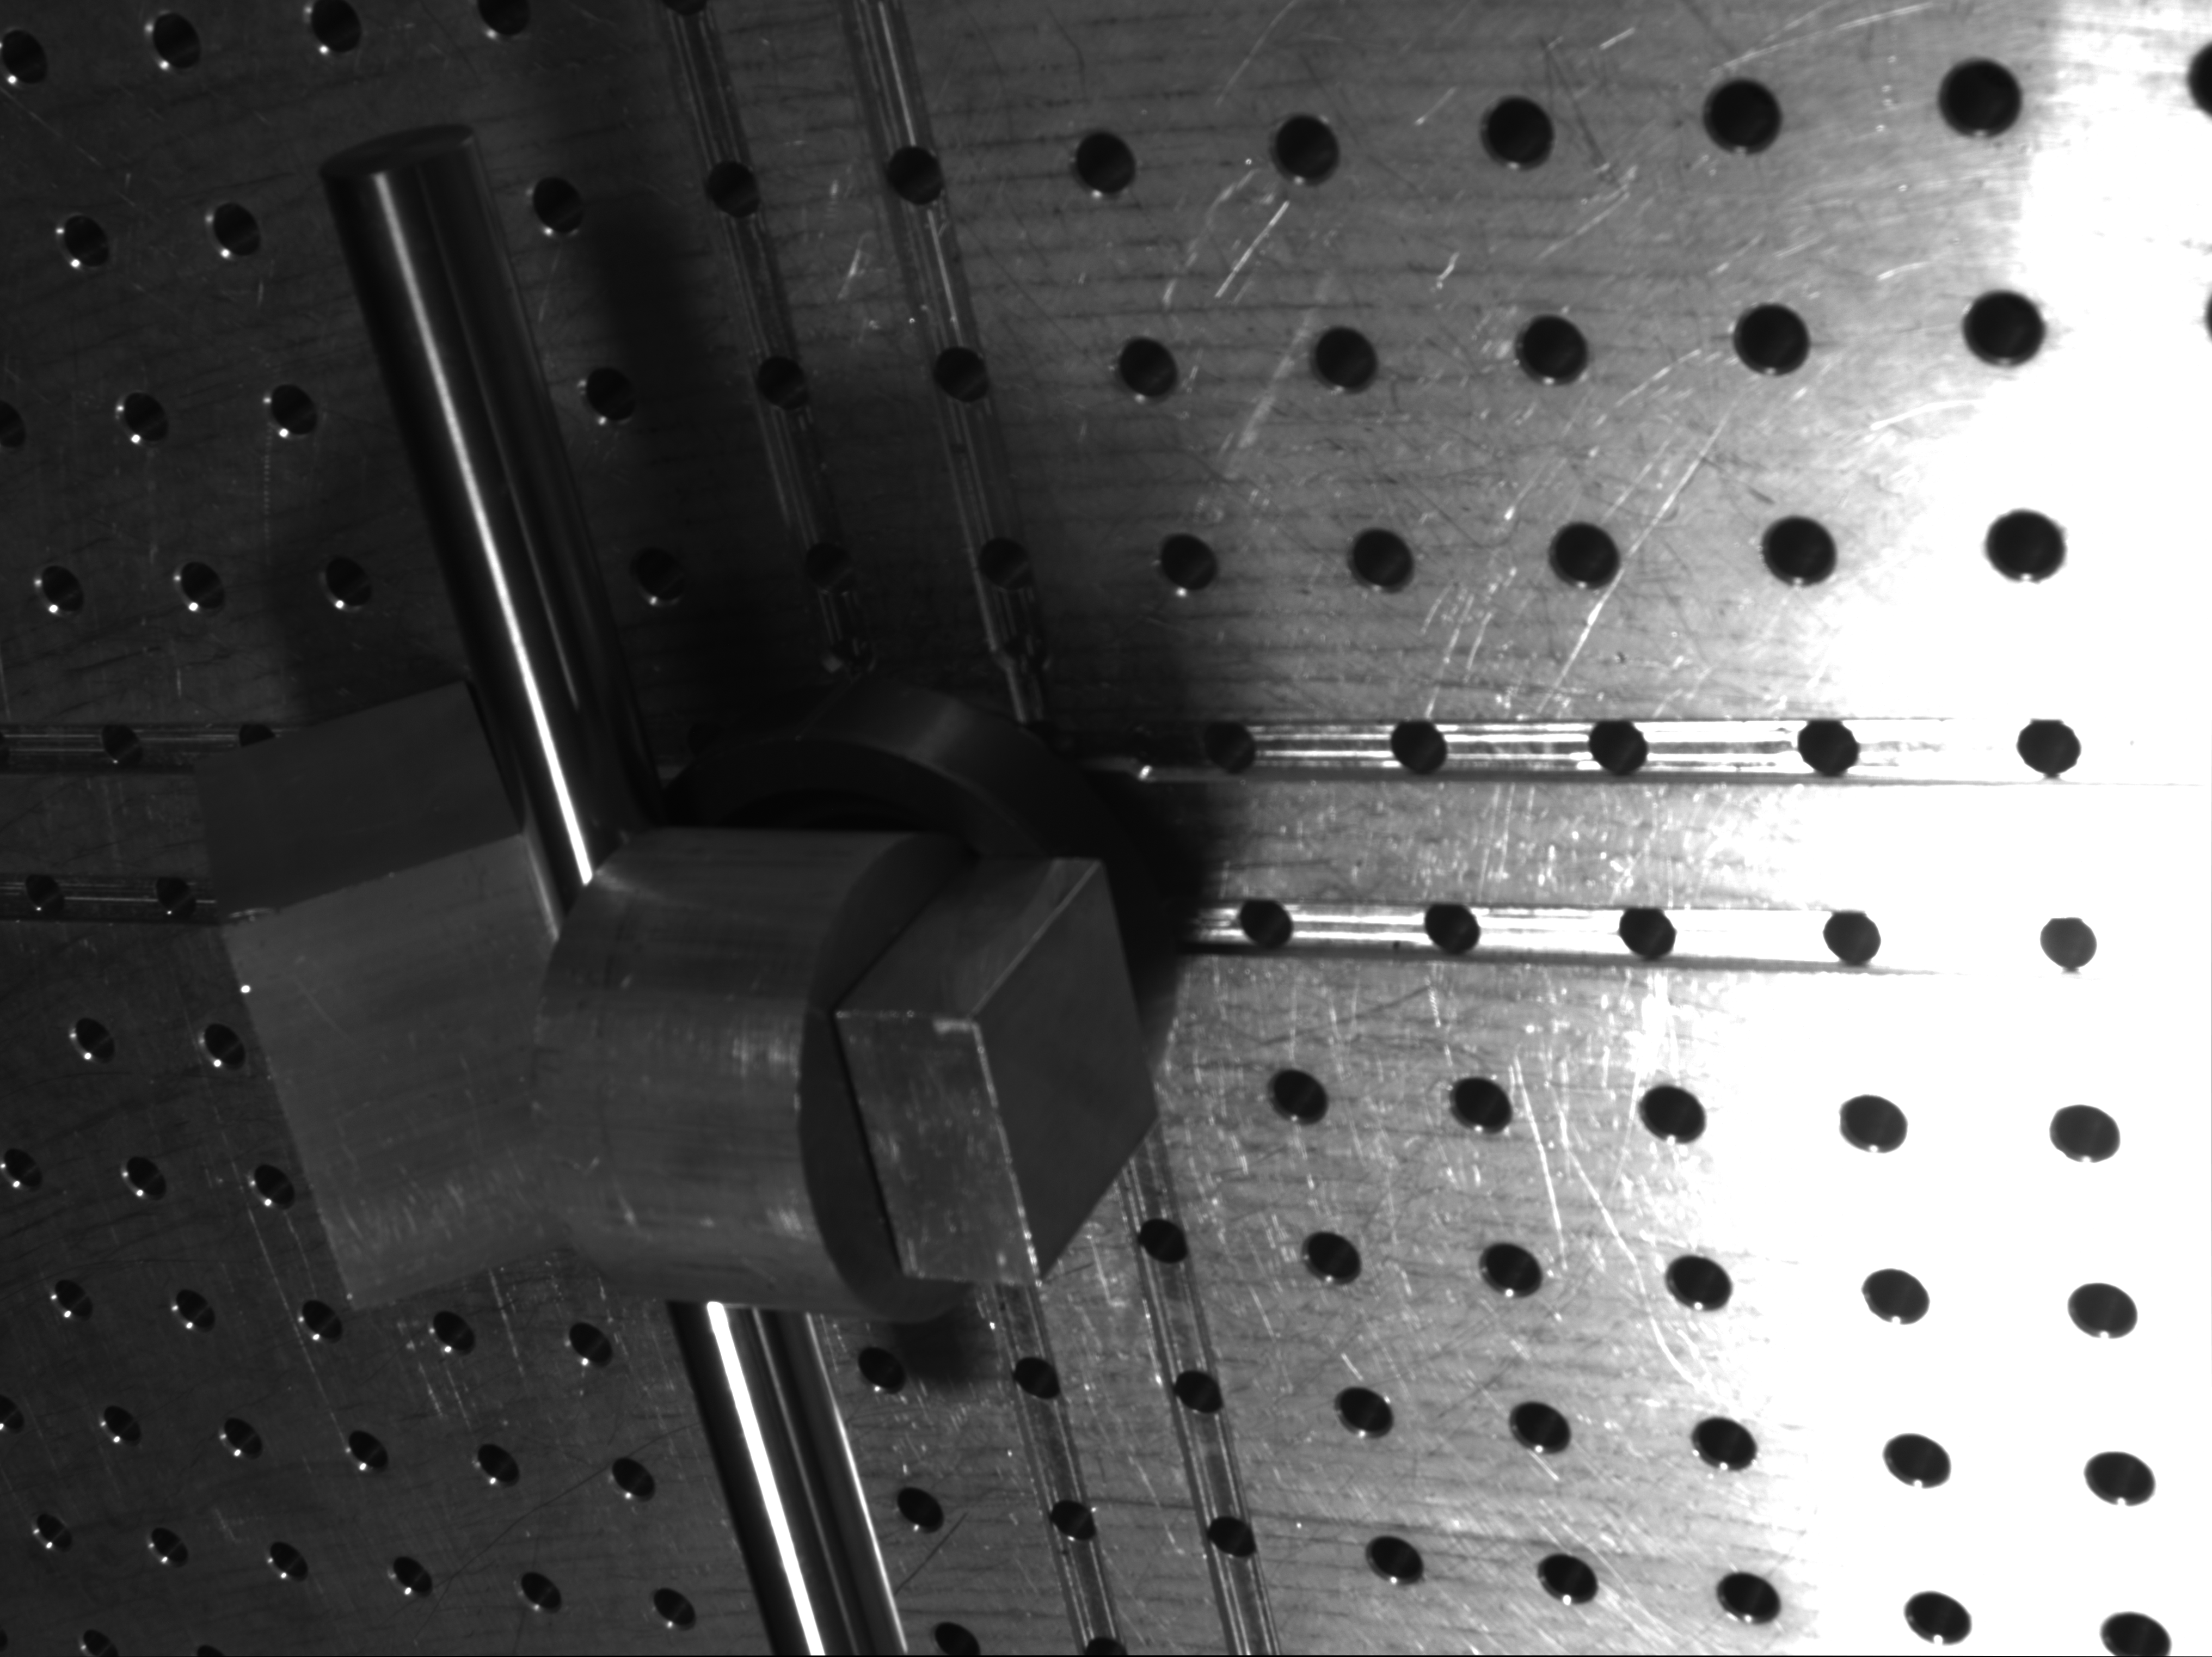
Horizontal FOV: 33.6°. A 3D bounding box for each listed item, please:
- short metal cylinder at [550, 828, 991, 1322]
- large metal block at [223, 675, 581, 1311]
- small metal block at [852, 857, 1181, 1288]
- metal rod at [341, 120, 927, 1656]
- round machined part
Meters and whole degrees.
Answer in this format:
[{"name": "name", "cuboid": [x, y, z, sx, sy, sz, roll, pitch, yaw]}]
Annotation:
[{"name": "short metal cylinder", "cuboid": [-0.049, 0.040, 0.609, 0.050, 0.080, 0.080, 1, 119, 26]}, {"name": "large metal block", "cuboid": [-0.122, 0.028, 0.670, 0.050, 0.080, 0.080, -18, 116, -10]}, {"name": "small metal block", "cuboid": [-0.013, 0.039, 0.595, 0.025, 0.050, 0.050, 1, 119, 26]}, {"name": "metal rod", "cuboid": [-0.077, 0.026, 0.635, 0.025, 0.025, 0.300, 1, 119, 26]}, {"name": "round machined part", "cuboid": [-0.029, 0.018, 0.647, 0.098, 0.042, 0.098, 12, 123, 20]}]
